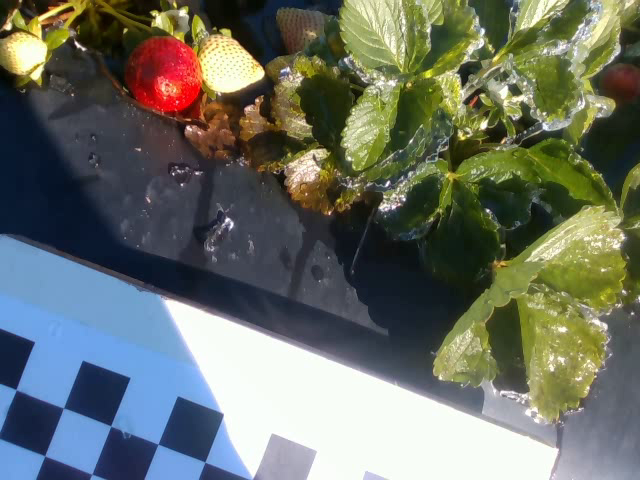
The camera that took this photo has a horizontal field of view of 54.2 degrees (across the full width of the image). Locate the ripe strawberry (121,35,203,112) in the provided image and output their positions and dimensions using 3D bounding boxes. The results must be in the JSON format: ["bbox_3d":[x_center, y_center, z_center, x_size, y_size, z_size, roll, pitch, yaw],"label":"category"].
[{"bbox_3d":[-0.074,-0.076,0.293,0.040,0.042,0.053,-15,28,-5],"label":"ripe strawberry"}]
